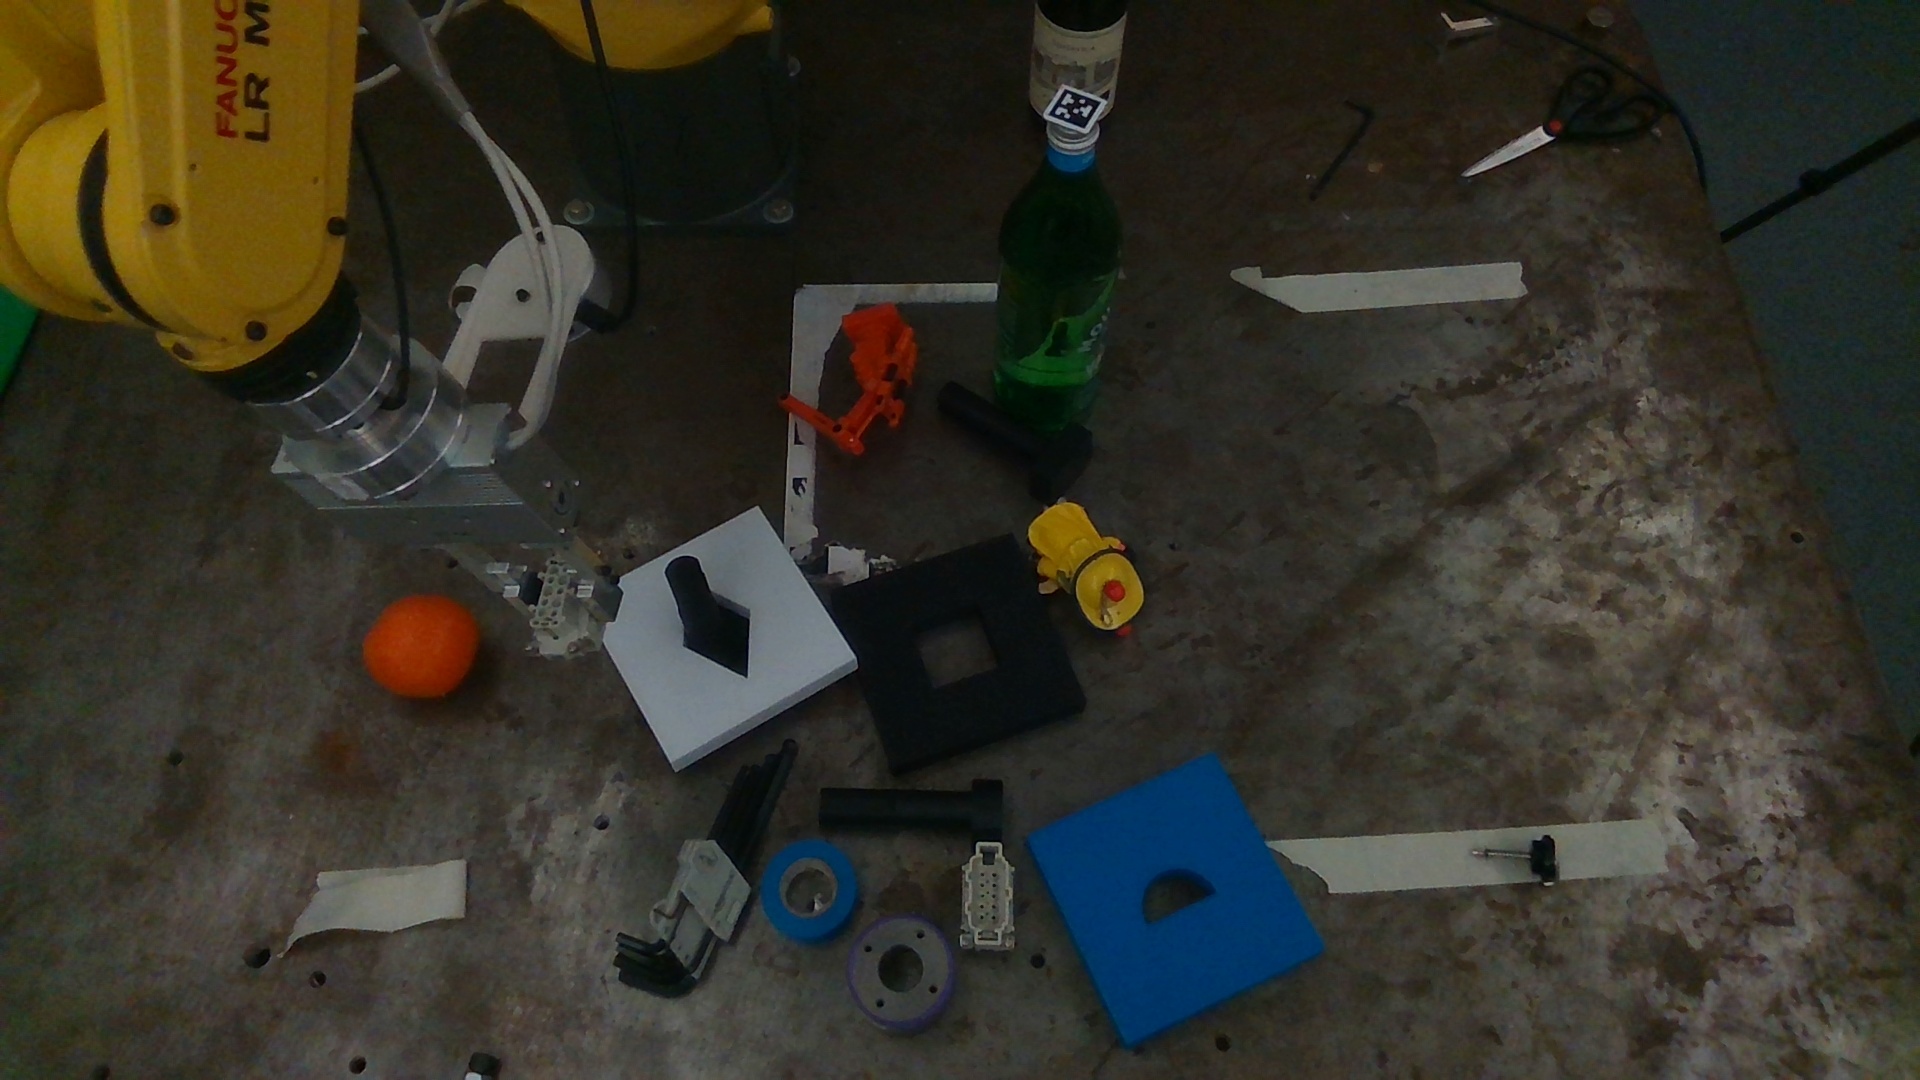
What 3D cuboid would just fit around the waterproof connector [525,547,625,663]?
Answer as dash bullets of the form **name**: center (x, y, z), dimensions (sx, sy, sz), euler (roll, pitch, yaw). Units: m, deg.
- **waterproof connector**: center (-0.217, 0.036, 0.778), dimensions (0.037, 0.038, 0.069), euler (-5, 58, 22)
